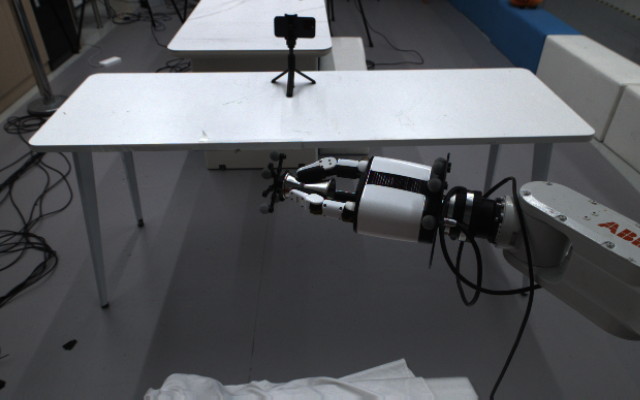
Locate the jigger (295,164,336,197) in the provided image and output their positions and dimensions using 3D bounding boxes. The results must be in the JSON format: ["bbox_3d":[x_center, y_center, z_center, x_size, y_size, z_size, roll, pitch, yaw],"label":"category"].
[{"bbox_3d":[-0.010,-0.019,0.700,0.071,0.043,0.043,10,36,15],"label":"jigger"}]
